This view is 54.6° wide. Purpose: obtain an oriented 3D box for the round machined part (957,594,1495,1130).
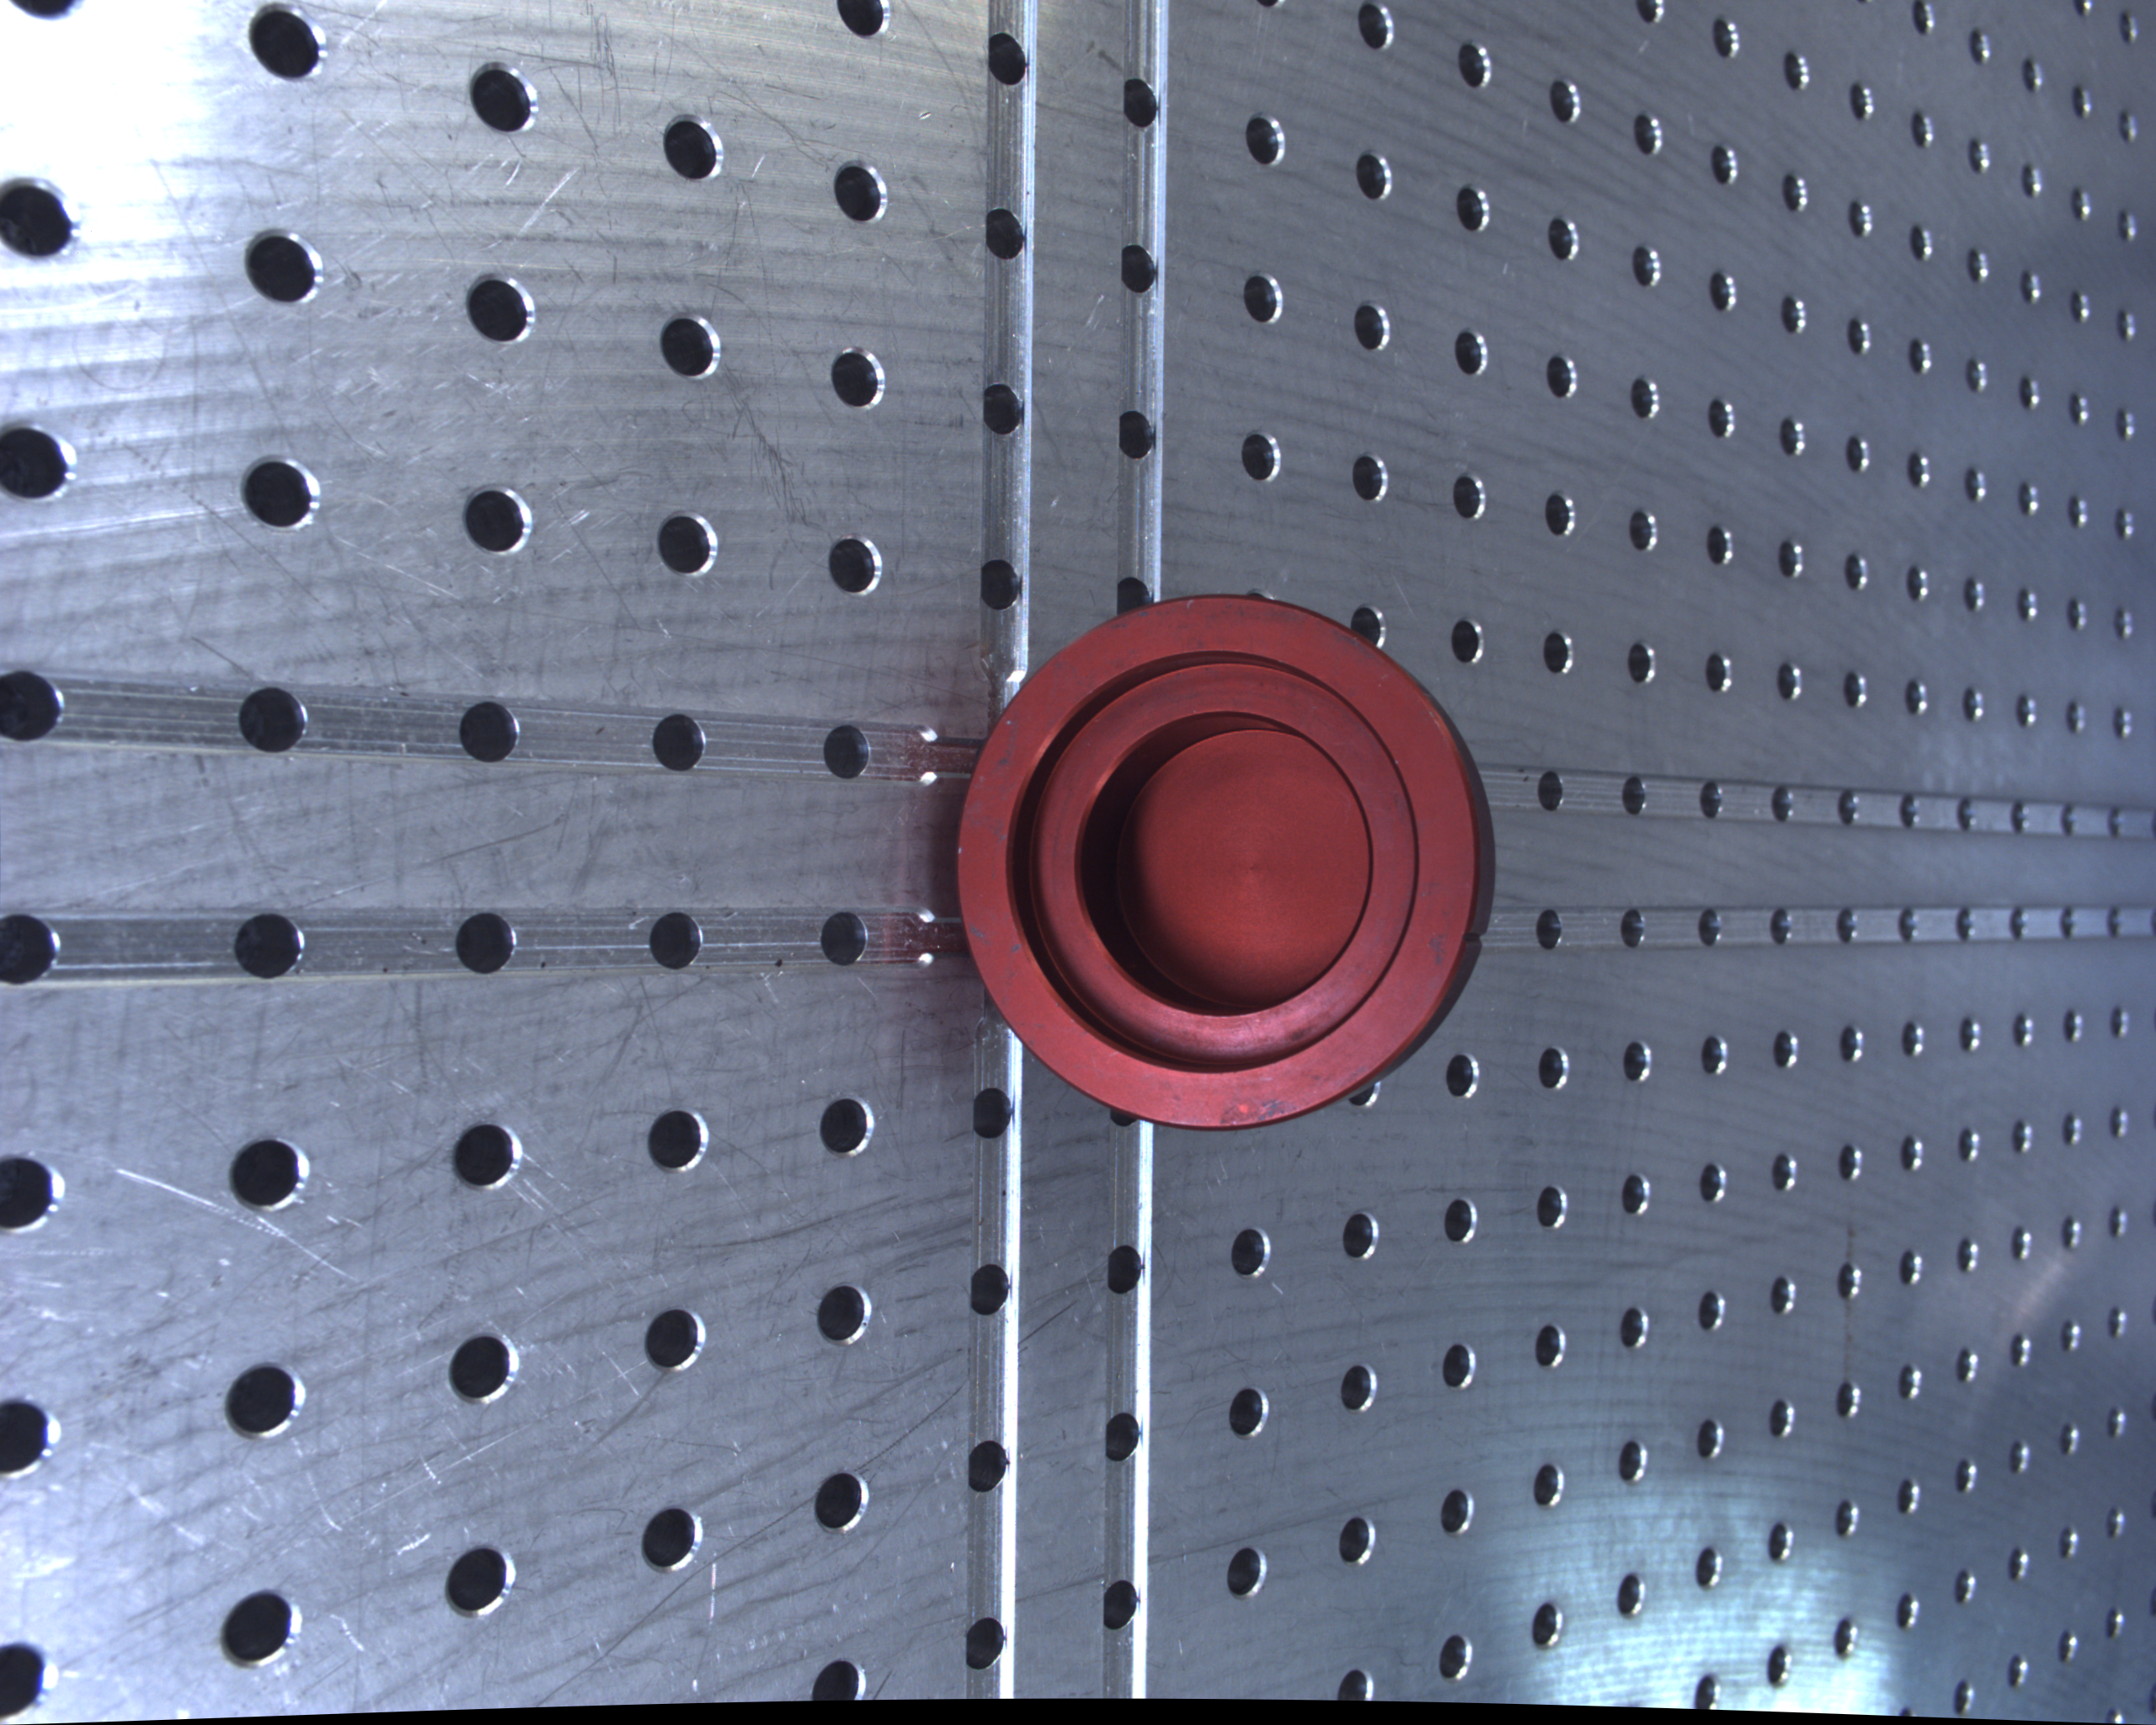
[{"bbox_3d":[0.030,0.001,0.398,0.042,0.098,0.098,8,84,-71],"label":"round machined part"}]
